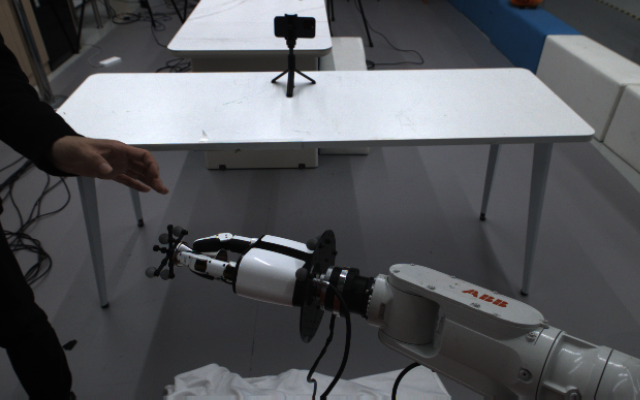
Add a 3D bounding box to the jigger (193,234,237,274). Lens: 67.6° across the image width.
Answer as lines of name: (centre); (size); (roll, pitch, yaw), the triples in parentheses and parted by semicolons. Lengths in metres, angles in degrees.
jigger: (-0.173, 0.085, 0.718); (0.071, 0.043, 0.043); (10, 35, 16)
